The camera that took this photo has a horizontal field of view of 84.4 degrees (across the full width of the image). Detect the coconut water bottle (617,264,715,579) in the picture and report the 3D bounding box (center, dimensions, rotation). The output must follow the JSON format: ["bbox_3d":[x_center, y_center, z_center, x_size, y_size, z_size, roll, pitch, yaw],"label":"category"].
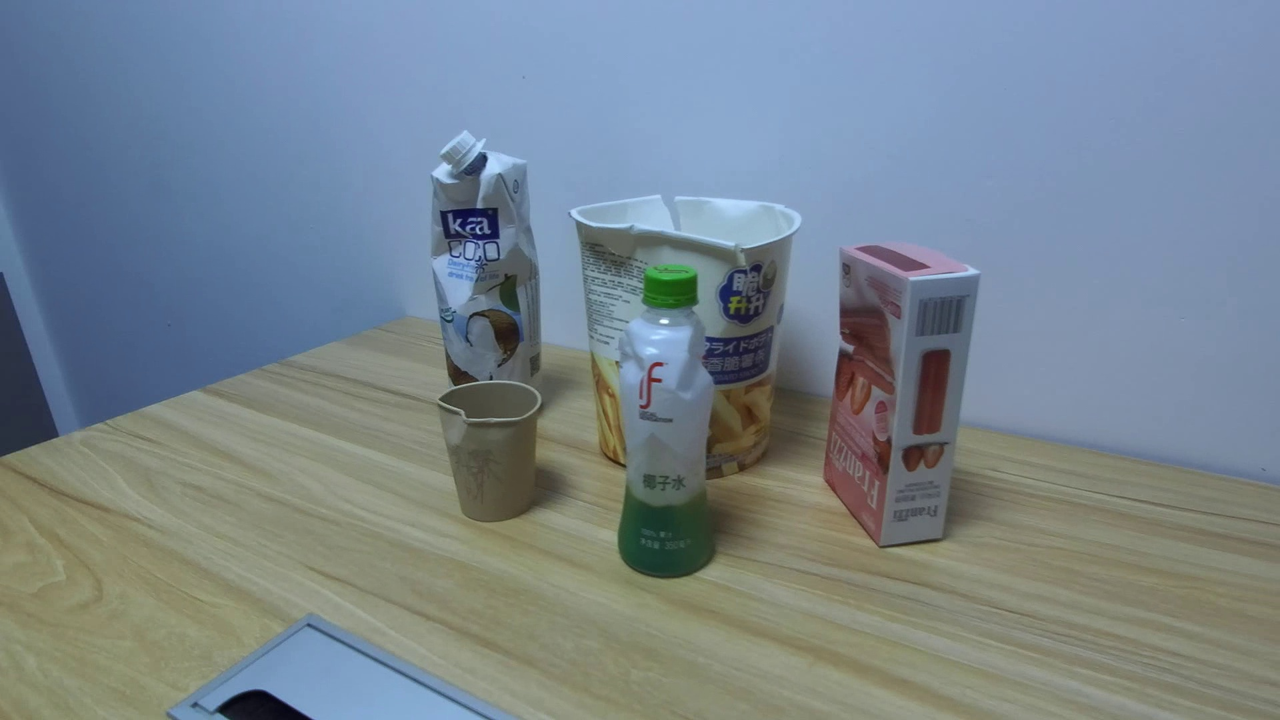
[{"bbox_3d":[0.017,0.037,0.427,0.069,0.186,0.069,0,23,0],"label":"coconut water bottle"}]

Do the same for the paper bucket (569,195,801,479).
[{"bbox_3d":[0.035,-0.025,0.578,0.201,0.197,0.146,17,26,36],"label":"paper bucket"}]

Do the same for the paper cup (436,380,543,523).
[{"bbox_3d":[-0.106,0.066,0.510,0.073,0.081,0.068,-2,20,-7],"label":"paper cup"}]

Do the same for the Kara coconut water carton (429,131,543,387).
[{"bbox_3d":[-0.136,-0.068,0.619,0.083,0.255,0.078,10,26,23],"label":"Kara coconut water carton"}]

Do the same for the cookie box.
[{"bbox_3d":[0.168,0.018,0.481,0.049,0.187,0.105,-4,22,-7],"label":"cookie box"}]
